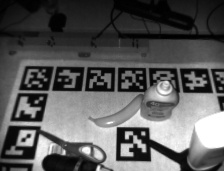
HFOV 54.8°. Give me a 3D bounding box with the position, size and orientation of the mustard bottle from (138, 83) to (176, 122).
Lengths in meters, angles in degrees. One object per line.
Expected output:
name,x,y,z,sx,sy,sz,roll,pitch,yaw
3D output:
mustard bottle,0.130,0.046,0.618,0.096,0.192,0.058,12,62,7

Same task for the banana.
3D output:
banana,0.025,0.066,0.683,0.198,0.039,0.073,-36,49,-17

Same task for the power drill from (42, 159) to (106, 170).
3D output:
power drill,-0.058,0.224,0.485,0.183,0.188,0.057,10,55,10

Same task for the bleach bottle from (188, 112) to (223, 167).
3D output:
bleach bottle,0.235,0.145,0.509,0.103,0.253,0.067,-20,58,-1

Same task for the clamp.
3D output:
clamp,0.203,0.210,0.594,0.203,0.037,0.164,-5,63,-4

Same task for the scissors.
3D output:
scissors,-0.123,0.151,0.541,0.202,0.016,0.088,24,68,8

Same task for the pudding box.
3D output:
pudding box,-0.112,0.189,0.593,0.114,0.090,0.038,3,54,2
